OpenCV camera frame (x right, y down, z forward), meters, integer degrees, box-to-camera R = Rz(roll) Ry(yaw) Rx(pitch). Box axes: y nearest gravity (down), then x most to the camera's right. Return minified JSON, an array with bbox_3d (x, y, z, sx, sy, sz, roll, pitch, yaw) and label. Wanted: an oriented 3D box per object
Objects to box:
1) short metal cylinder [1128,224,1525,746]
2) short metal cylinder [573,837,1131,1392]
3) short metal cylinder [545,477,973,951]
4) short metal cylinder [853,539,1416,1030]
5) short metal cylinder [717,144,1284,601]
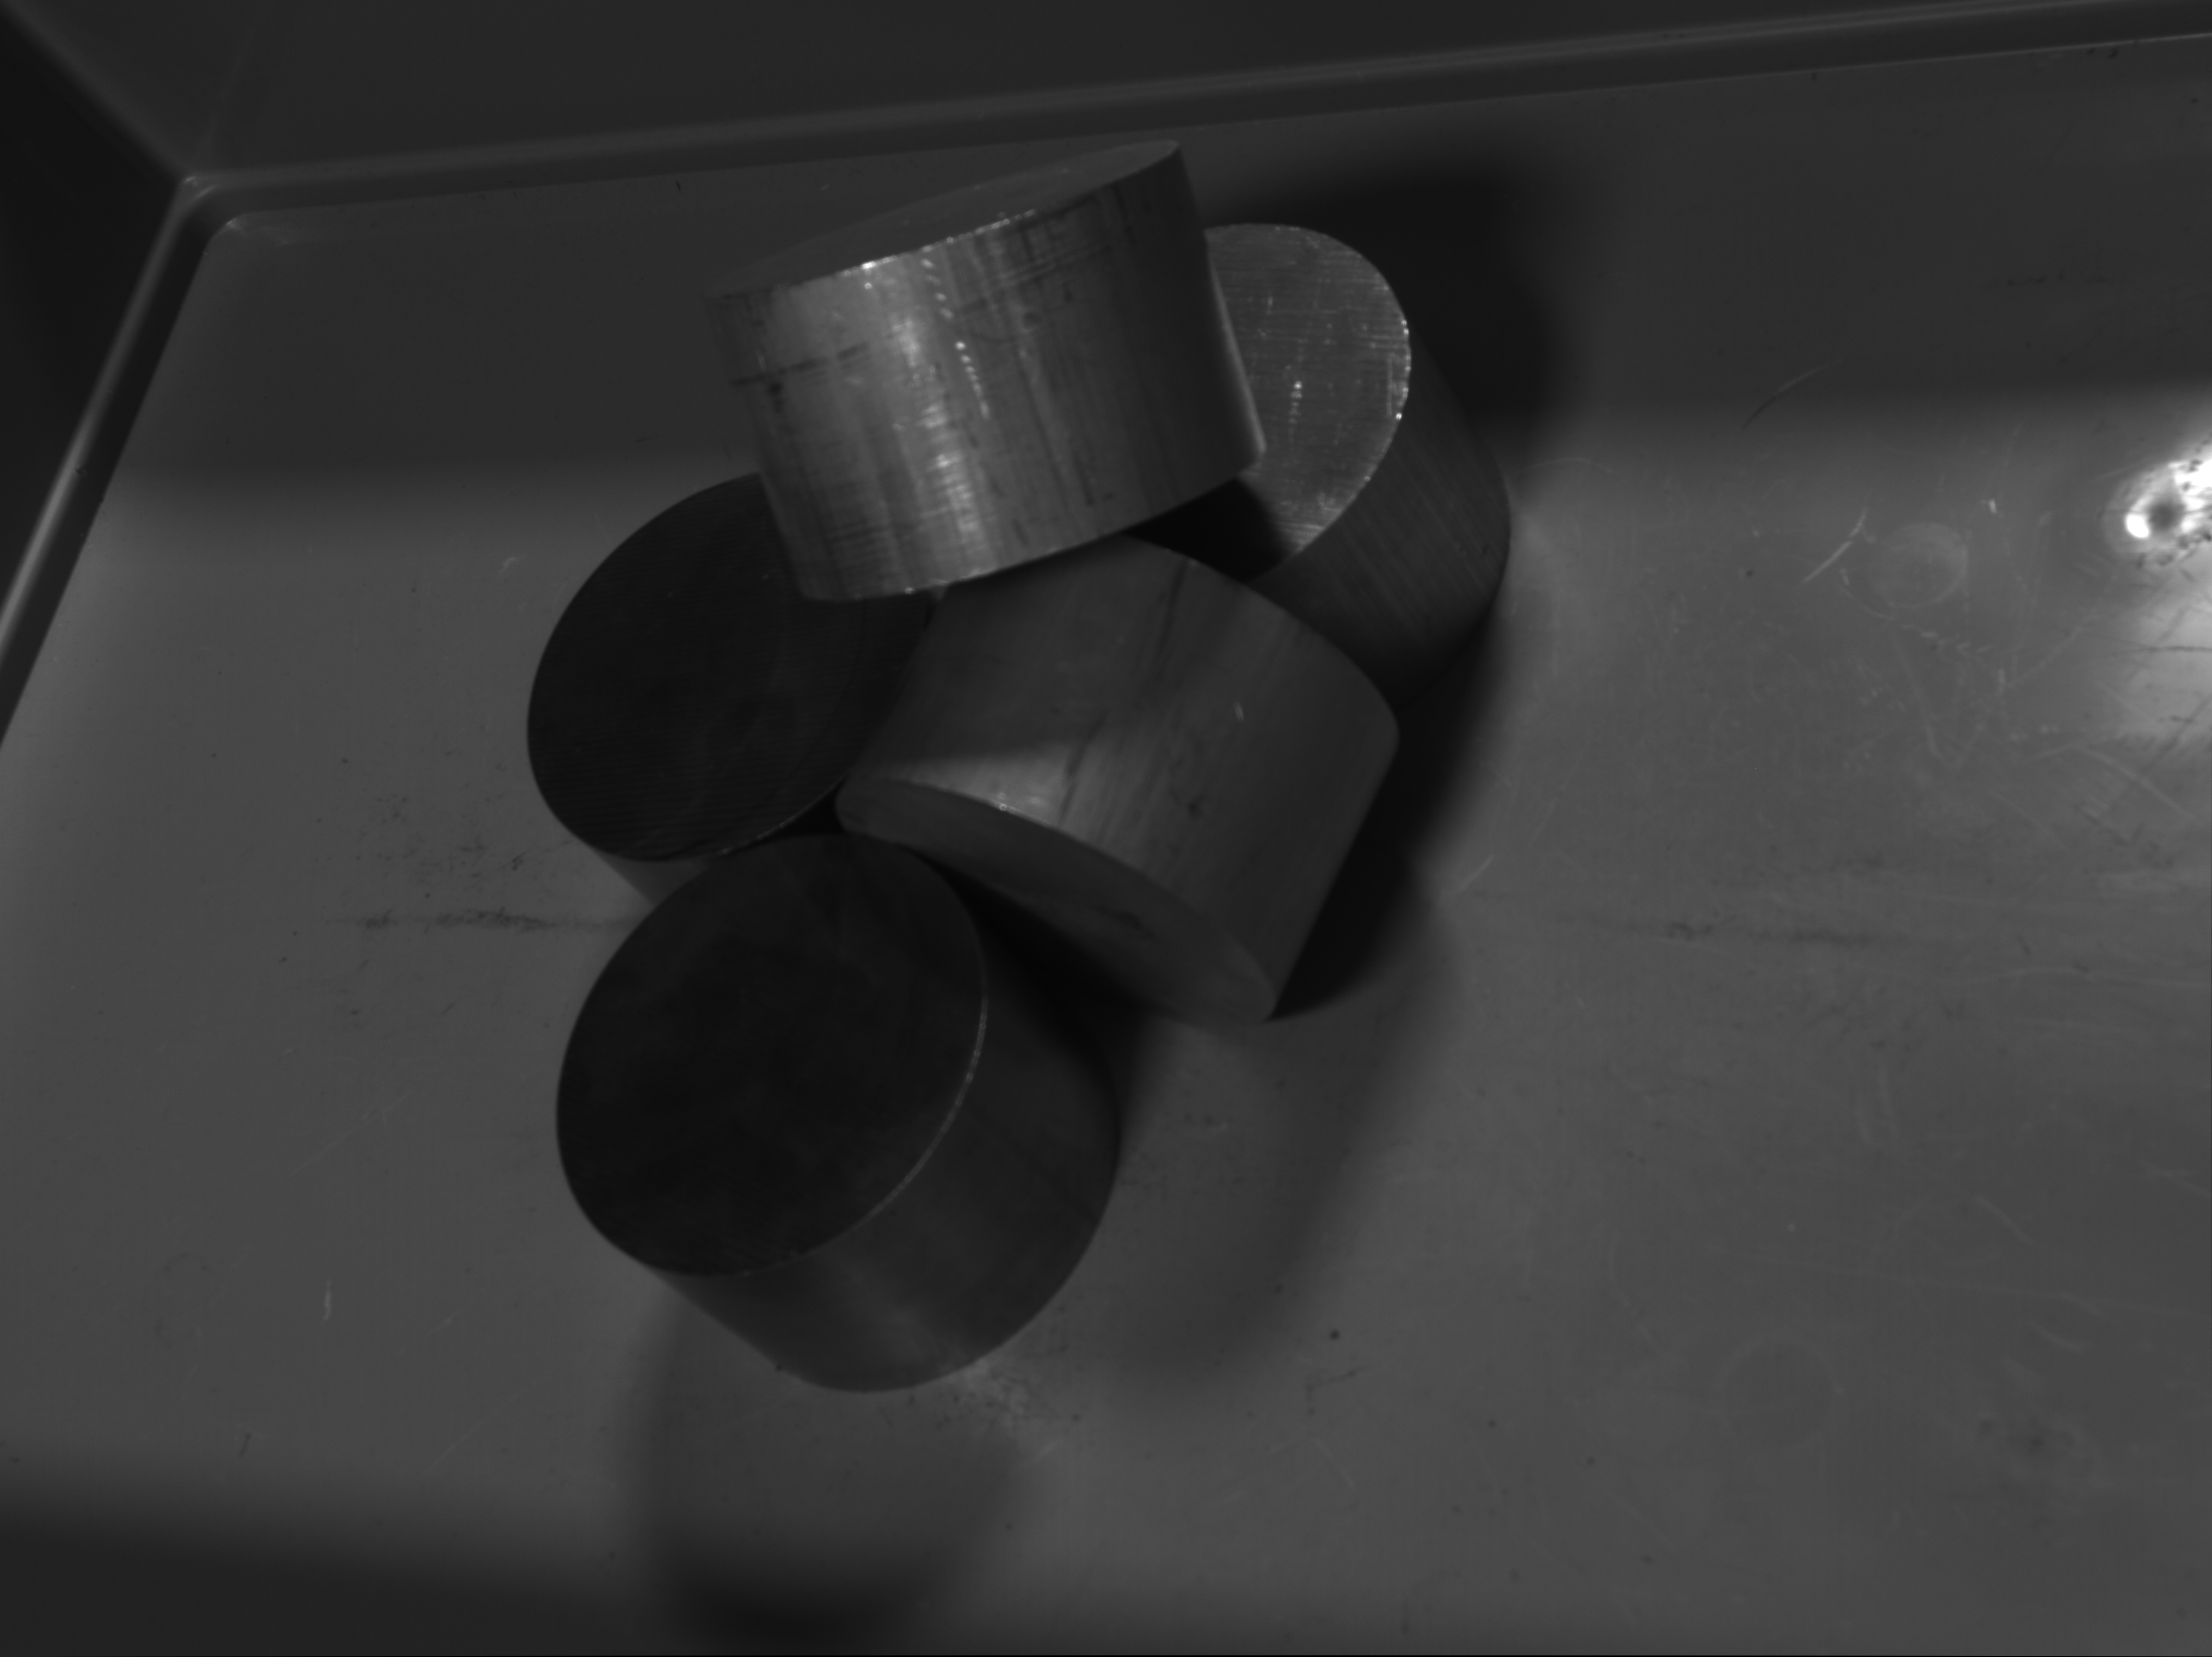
[{"bbox_3d":[0.028,-0.059,0.648,0.080,0.050,0.080,-13,56,21],"label":"short metal cylinder"},{"bbox_3d":[-0.042,0.048,0.619,0.080,0.050,0.080,-13,56,21],"label":"short metal cylinder"},{"bbox_3d":[-0.054,-0.017,0.666,0.080,0.050,0.080,-13,56,21],"label":"short metal cylinder"},{"bbox_3d":[0.005,-0.008,0.610,0.080,0.080,0.050,14,69,34],"label":"short metal cylinder"},{"bbox_3d":[-0.017,-0.074,0.591,0.080,0.050,0.080,-16,15,5],"label":"short metal cylinder"}]
